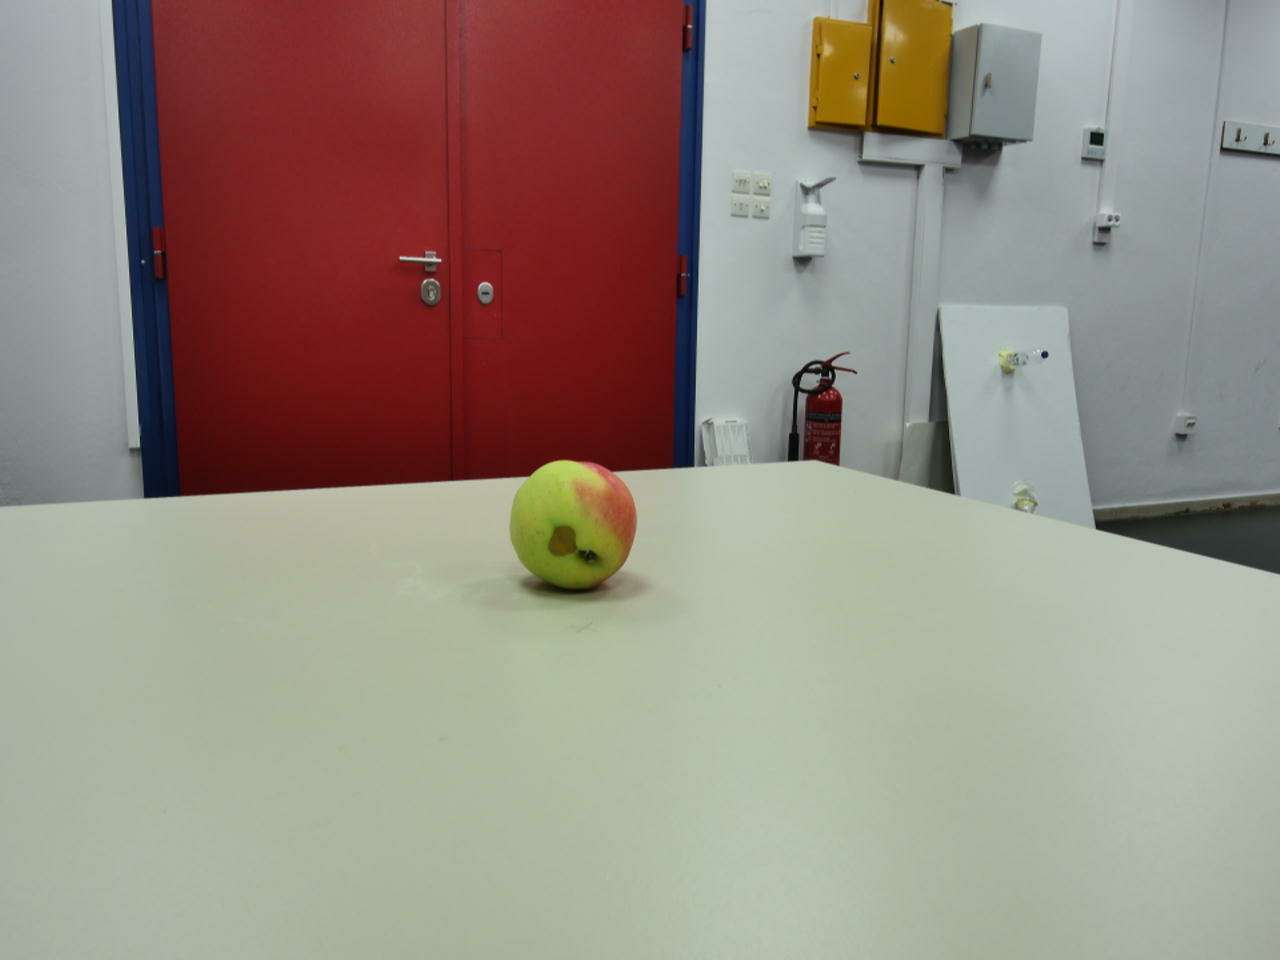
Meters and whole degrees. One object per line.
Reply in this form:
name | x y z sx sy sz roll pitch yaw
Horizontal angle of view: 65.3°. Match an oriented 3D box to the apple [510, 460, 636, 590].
apple | -0.038 0.025 0.590 0.075 0.074 0.075 -7 11 -44
